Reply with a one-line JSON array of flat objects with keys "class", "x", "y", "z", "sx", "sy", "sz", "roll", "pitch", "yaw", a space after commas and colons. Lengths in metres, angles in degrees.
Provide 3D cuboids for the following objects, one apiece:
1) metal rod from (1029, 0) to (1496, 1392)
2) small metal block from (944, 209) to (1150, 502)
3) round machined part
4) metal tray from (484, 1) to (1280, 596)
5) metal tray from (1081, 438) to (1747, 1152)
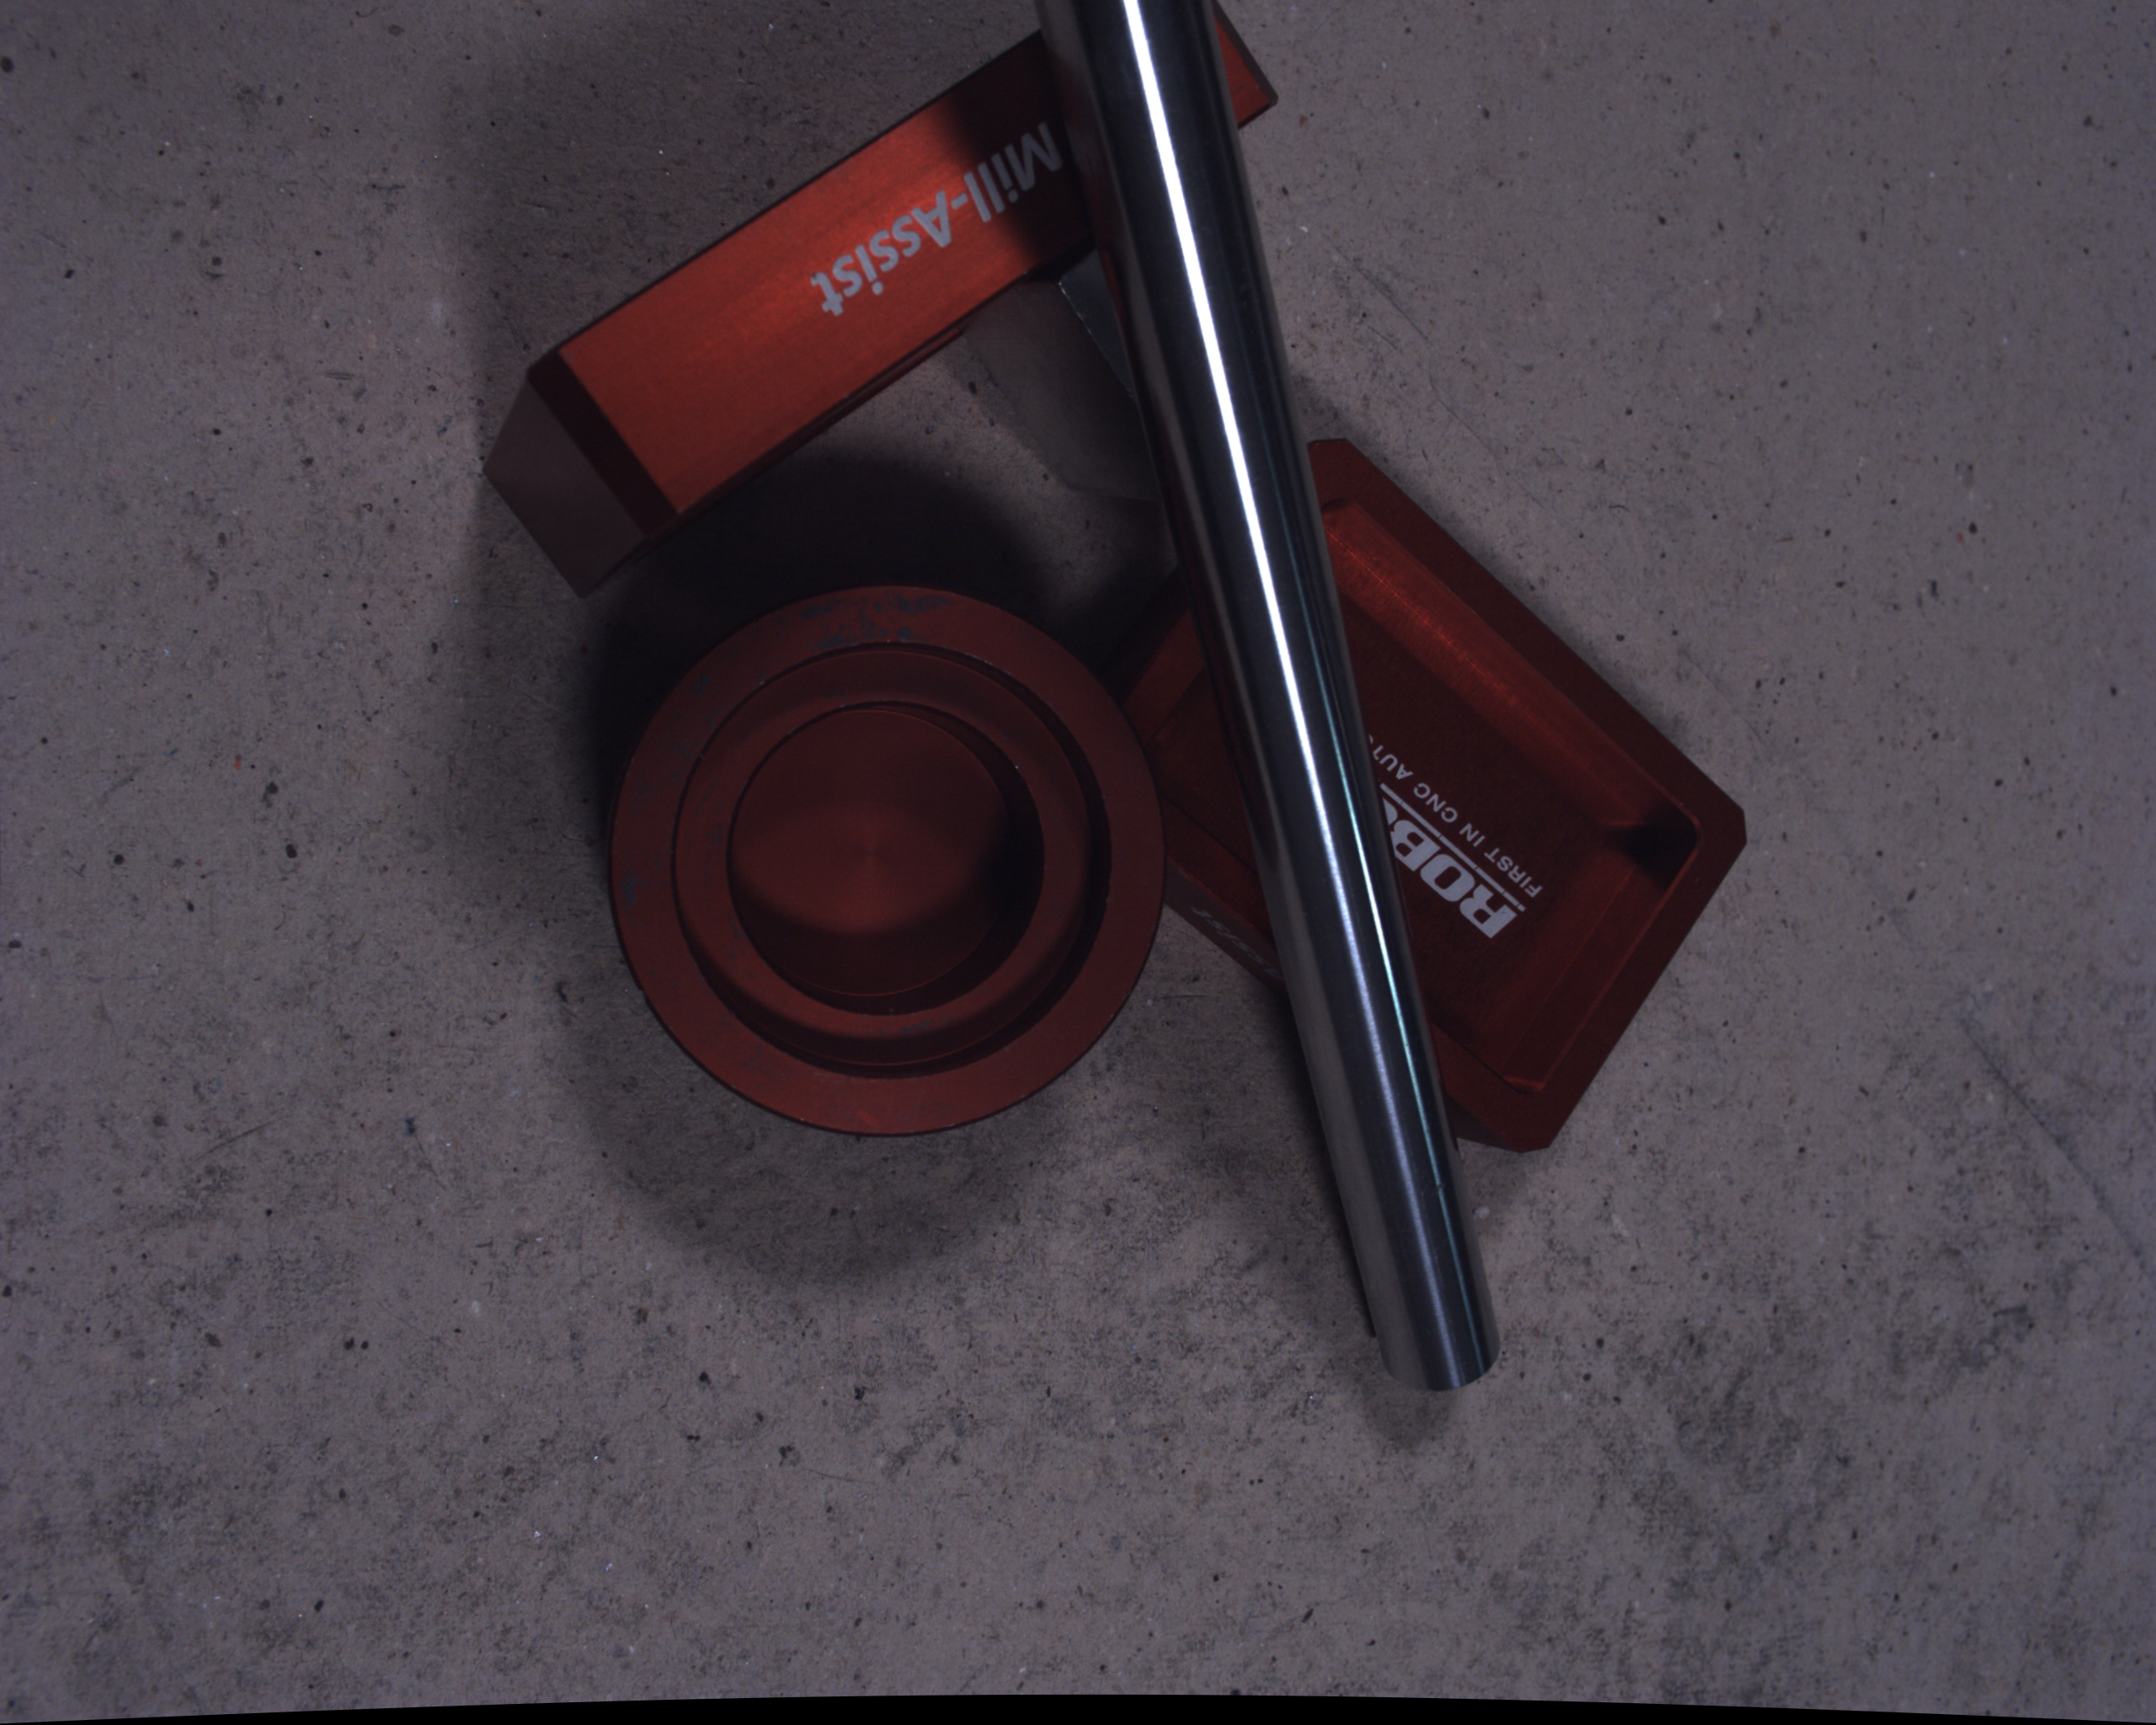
[{"class": "metal rod", "x": 0.038, "y": -0.021, "z": 0.369, "sx": 0.025, "sy": 0.025, "sz": 0.298, "roll": -28, "pitch": 121, "yaw": -18}, {"class": "small metal block", "x": 0.006, "y": -0.096, "z": 0.395, "sx": 0.025, "sy": 0.050, "sz": 0.050, "roll": -44, "pitch": 119, "yaw": -12}, {"class": "round machined part", "x": -0.037, "y": -0.001, "z": 0.385, "sx": 0.099, "sy": 0.042, "sz": 0.097, "roll": -1, "pitch": 93, "yaw": -14}, {"class": "metal tray", "x": -0.037, "y": -0.099, "z": 0.362, "sx": 0.131, "sy": 0.090, "sz": 0.030, "roll": -39, "pitch": 103, "yaw": -16}, {"class": "metal tray", "x": 0.067, "y": -0.013, "z": 0.434, "sx": 0.130, "sy": 0.030, "sz": 0.090, "roll": 40, "pitch": 77, "yaw": -16}]
